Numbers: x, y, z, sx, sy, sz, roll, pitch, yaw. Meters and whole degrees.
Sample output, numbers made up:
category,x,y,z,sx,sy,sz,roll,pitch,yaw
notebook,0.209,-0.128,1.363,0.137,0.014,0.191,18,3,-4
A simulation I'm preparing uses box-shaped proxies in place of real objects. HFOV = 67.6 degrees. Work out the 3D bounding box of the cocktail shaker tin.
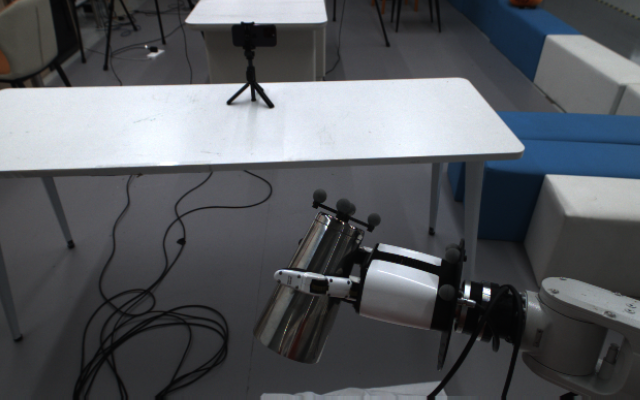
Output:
category,x,y,z,sx,sy,sz,roll,pitch,yaw
cocktail shaker tin,-0.005,0.102,0.609,0.093,0.170,0.093,23,0,0
